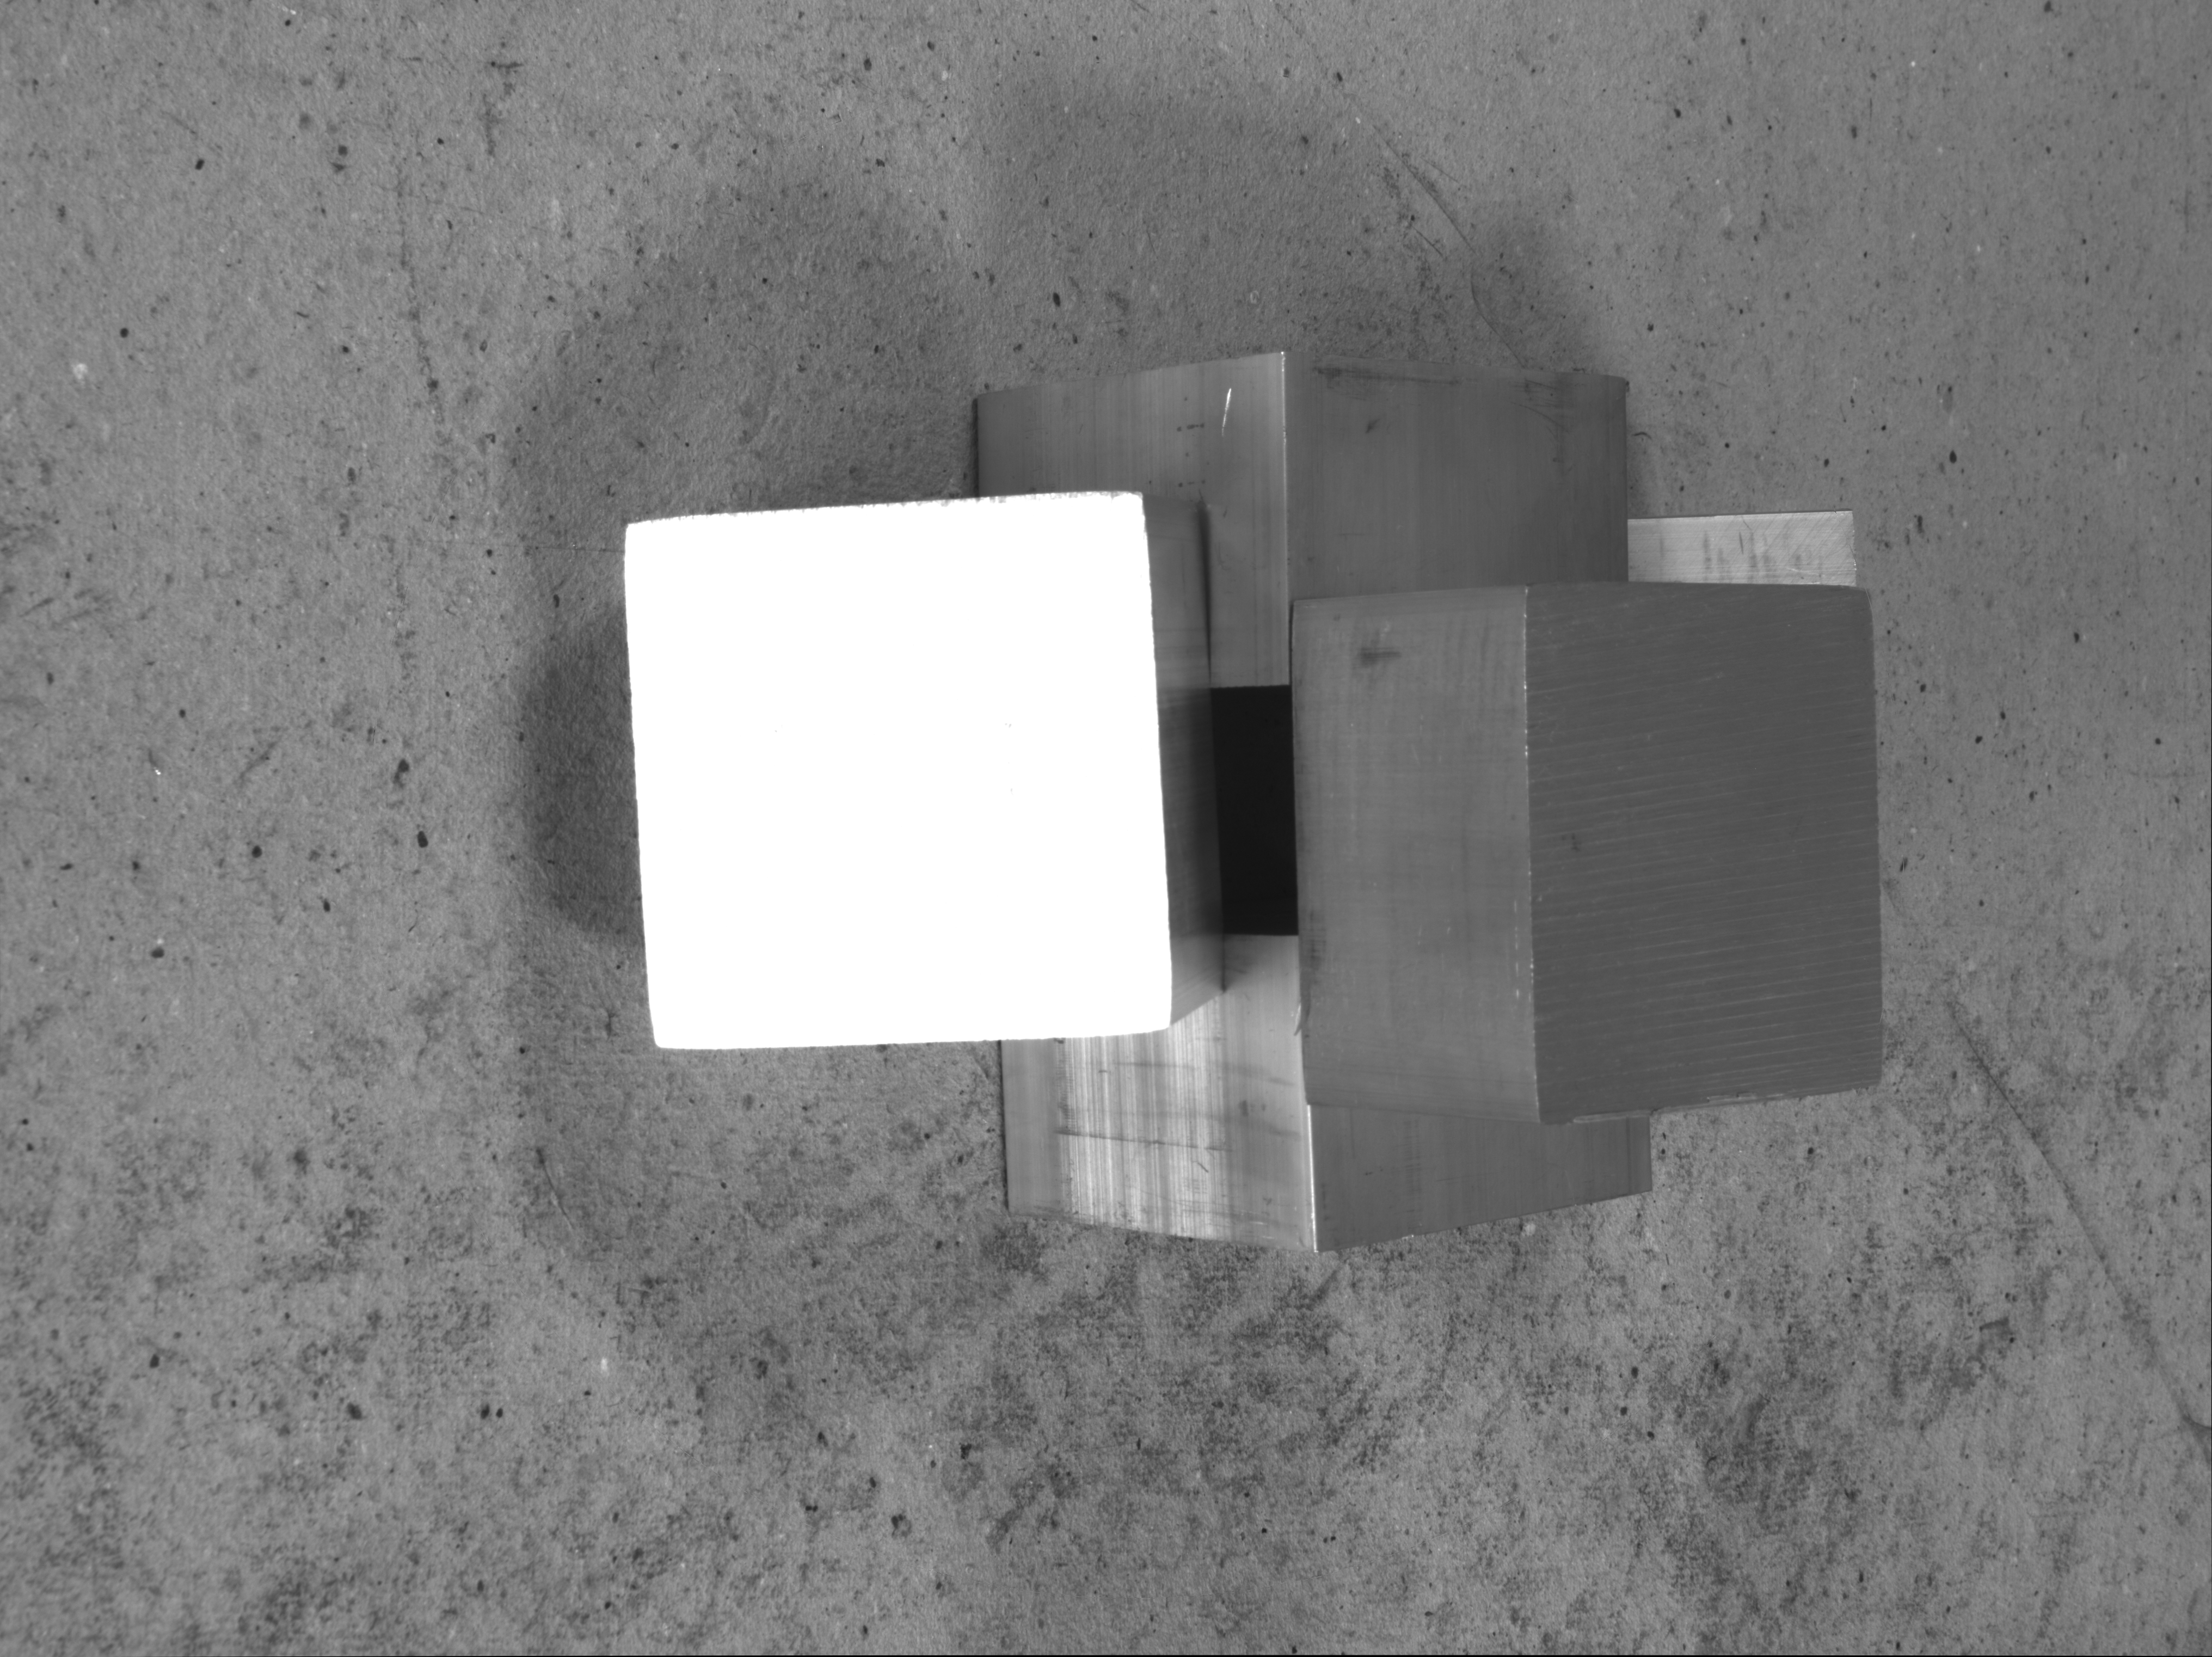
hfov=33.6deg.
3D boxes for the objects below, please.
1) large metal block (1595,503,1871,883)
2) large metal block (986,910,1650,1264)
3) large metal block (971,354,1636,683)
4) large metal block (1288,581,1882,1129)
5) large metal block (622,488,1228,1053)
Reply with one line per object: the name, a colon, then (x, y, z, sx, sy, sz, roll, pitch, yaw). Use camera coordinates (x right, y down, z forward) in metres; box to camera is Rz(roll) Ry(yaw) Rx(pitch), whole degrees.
large metal block: (0.104, -0.017, 0.677, 0.050, 0.080, 0.080, -3, 92, -5)
large metal block: (0.036, 0.041, 0.632, 0.080, 0.080, 0.050, -5, 93, -39)
large metal block: (0.034, -0.050, 0.629, 0.080, 0.080, 0.050, -3, 92, -40)
large metal block: (0.076, 0.003, 0.579, 0.080, 0.050, 0.080, -3, 91, -40)
large metal block: (-0.027, -0.009, 0.569, 0.050, 0.080, 0.080, -13, 100, -79)
